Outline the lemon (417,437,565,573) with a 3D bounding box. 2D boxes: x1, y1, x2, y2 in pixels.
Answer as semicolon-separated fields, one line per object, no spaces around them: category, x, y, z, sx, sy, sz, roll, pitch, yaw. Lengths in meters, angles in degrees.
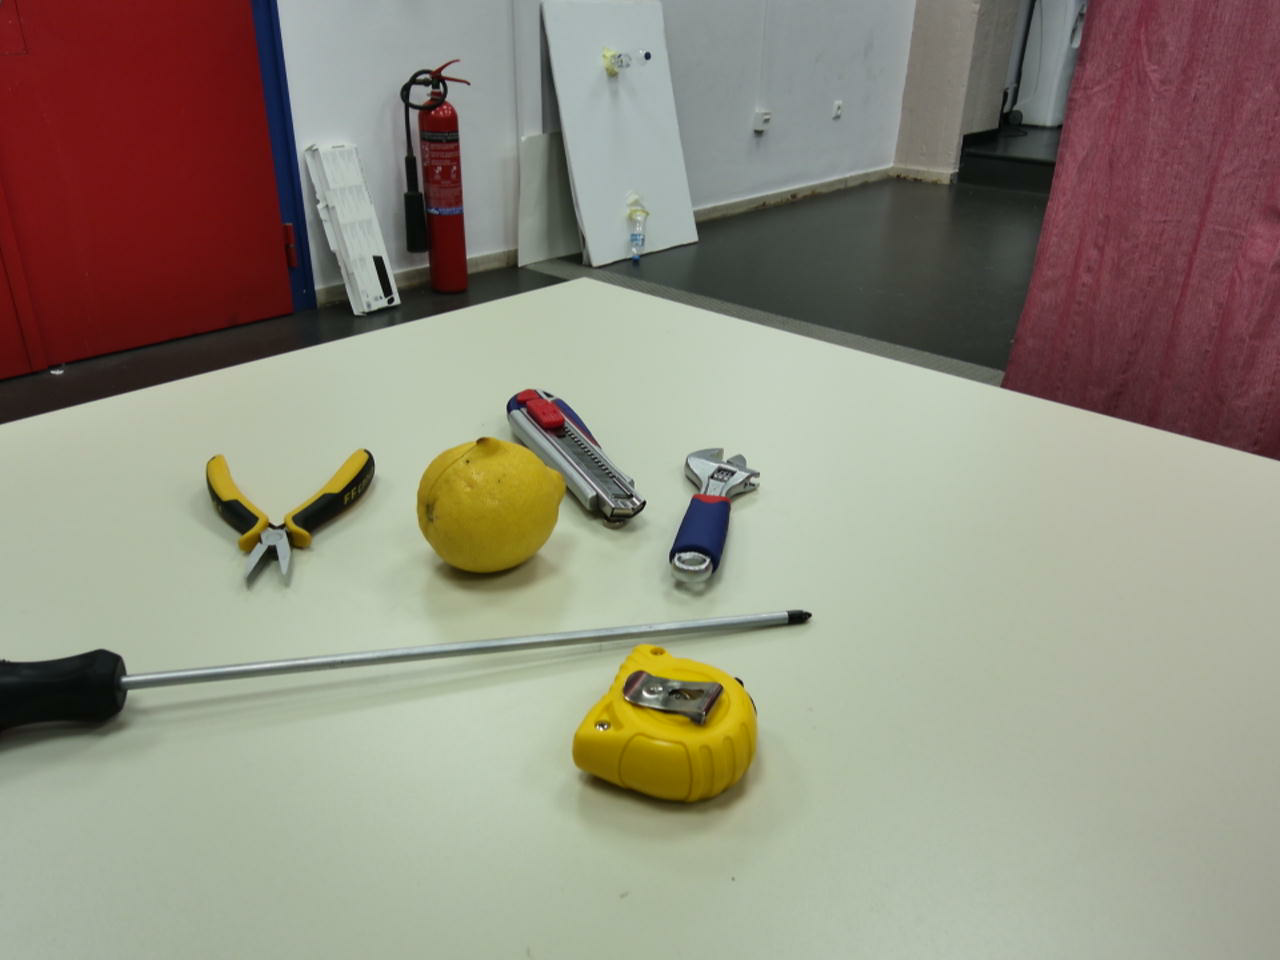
lemon;-0.077;0.010;0.507;0.071;0.071;0.070;3;25;6
